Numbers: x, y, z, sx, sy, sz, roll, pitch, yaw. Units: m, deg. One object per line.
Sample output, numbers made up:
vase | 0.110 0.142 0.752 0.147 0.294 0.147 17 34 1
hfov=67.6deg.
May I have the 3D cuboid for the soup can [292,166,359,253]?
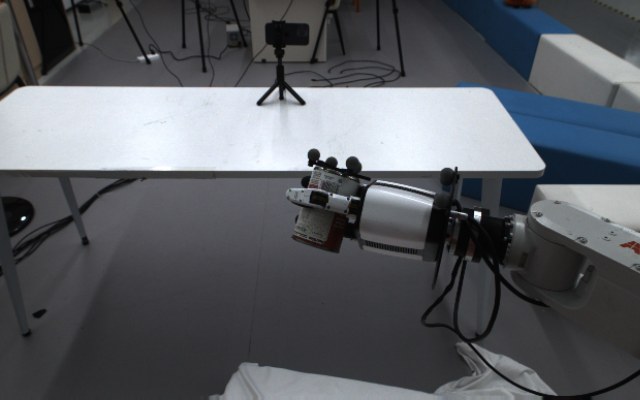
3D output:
soup can | 0.009 0.013 0.650 0.067 0.101 0.067 17 -1 0
